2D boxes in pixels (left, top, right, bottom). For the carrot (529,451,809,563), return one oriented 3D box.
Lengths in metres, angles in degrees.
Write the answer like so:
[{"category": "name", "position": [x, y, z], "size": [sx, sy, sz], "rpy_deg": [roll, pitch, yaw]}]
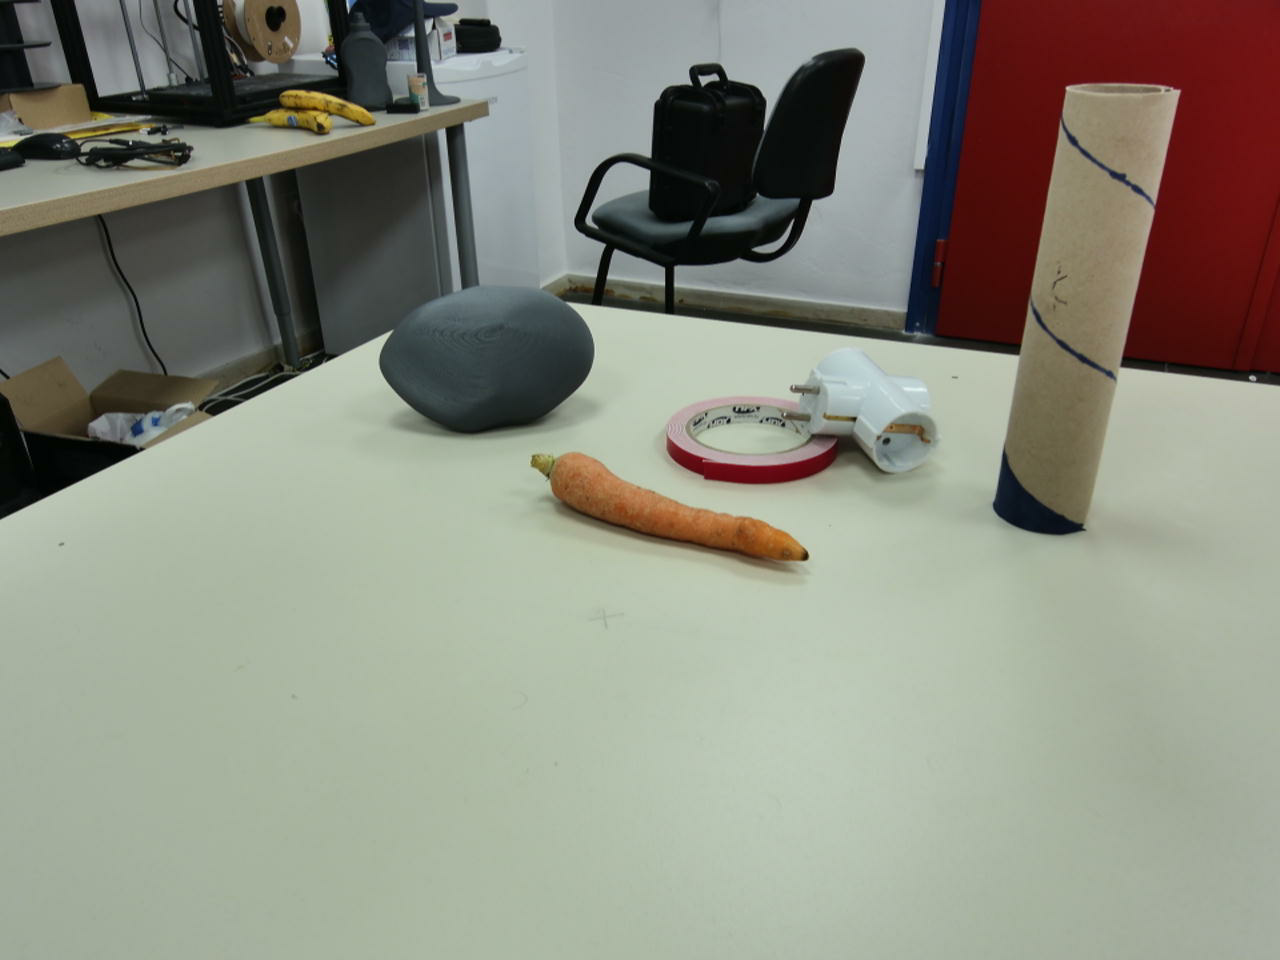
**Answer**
[{"category": "carrot", "position": [0.011, 0.014, 0.541], "size": [0.173, 0.032, 0.030], "rpy_deg": [16, 29, 31]}]
